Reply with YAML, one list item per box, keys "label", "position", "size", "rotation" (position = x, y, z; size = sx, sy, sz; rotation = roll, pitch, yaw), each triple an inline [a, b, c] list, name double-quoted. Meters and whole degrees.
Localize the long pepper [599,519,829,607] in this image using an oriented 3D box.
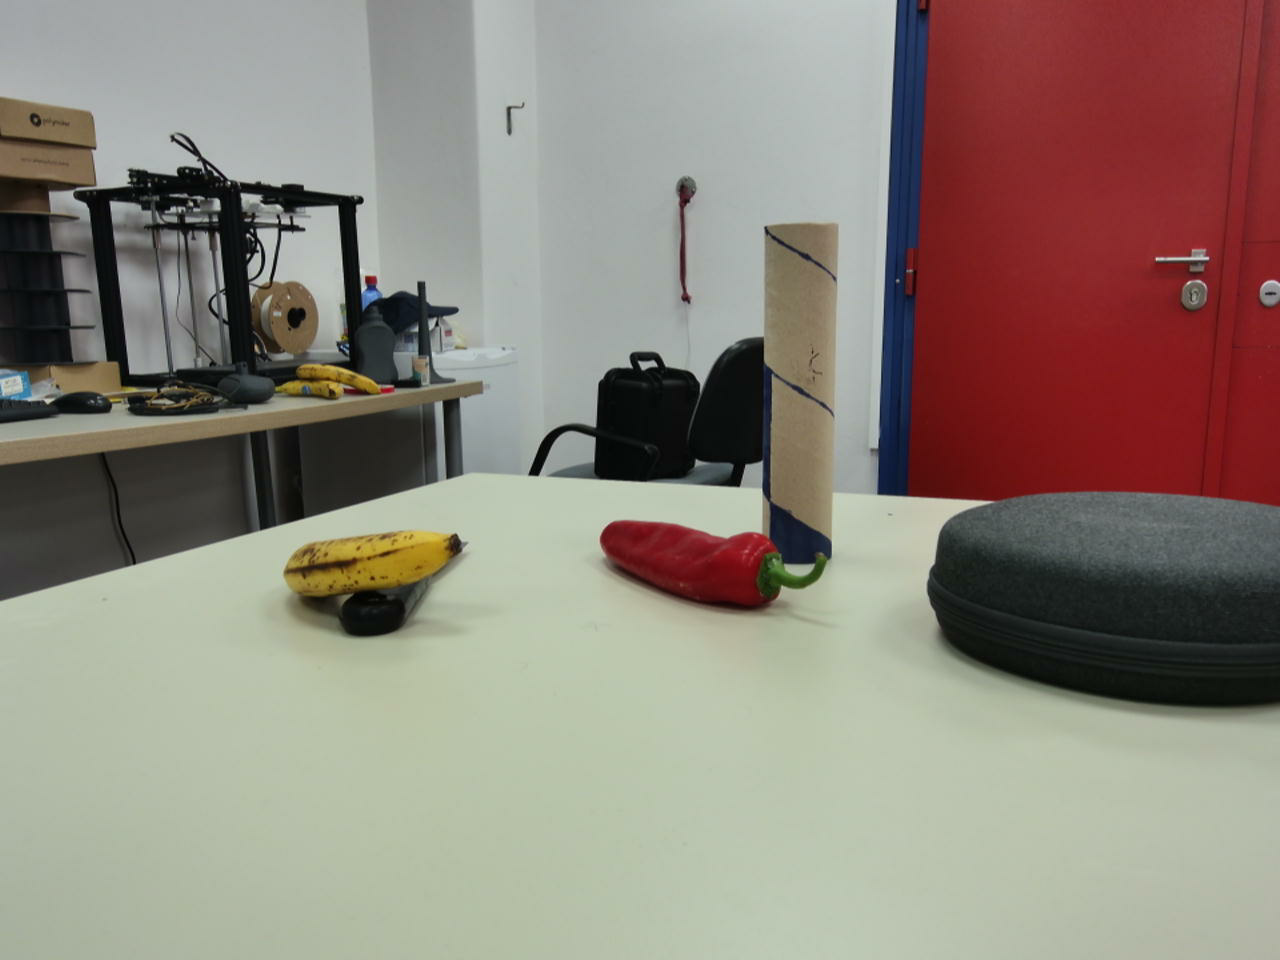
- label: "long pepper"
  position: [0.030, 0.047, 0.618]
  size: [0.050, 0.043, 0.211]
  rotation: [-5, 9, -34]
